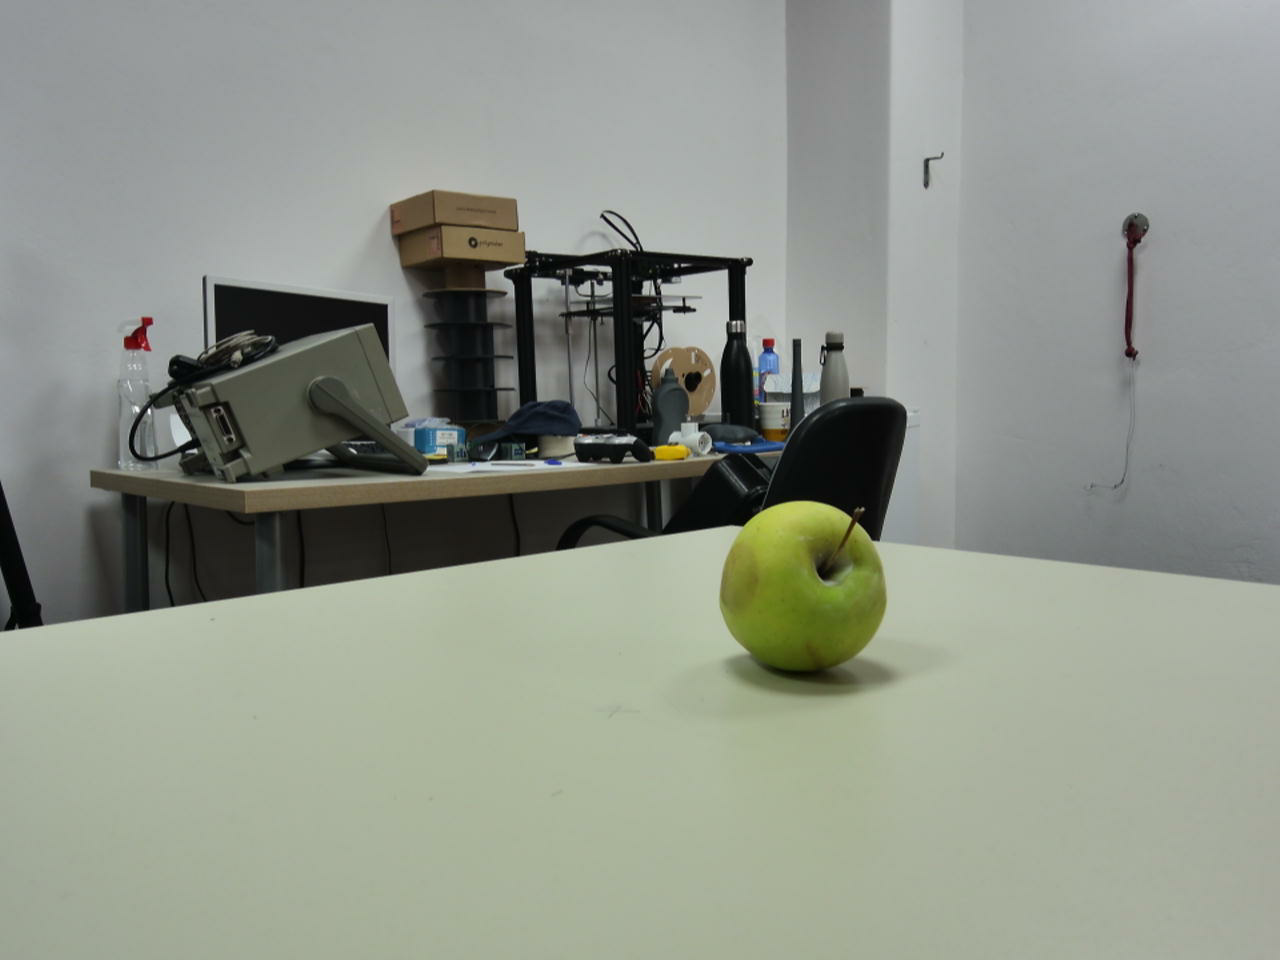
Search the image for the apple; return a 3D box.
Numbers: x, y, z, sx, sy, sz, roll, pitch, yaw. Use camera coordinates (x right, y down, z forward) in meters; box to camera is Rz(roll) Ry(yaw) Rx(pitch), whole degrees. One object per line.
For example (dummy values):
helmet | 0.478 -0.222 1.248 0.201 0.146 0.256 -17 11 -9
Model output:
apple | 0.073 0.048 0.454 0.072 0.075 0.077 0 3 3
